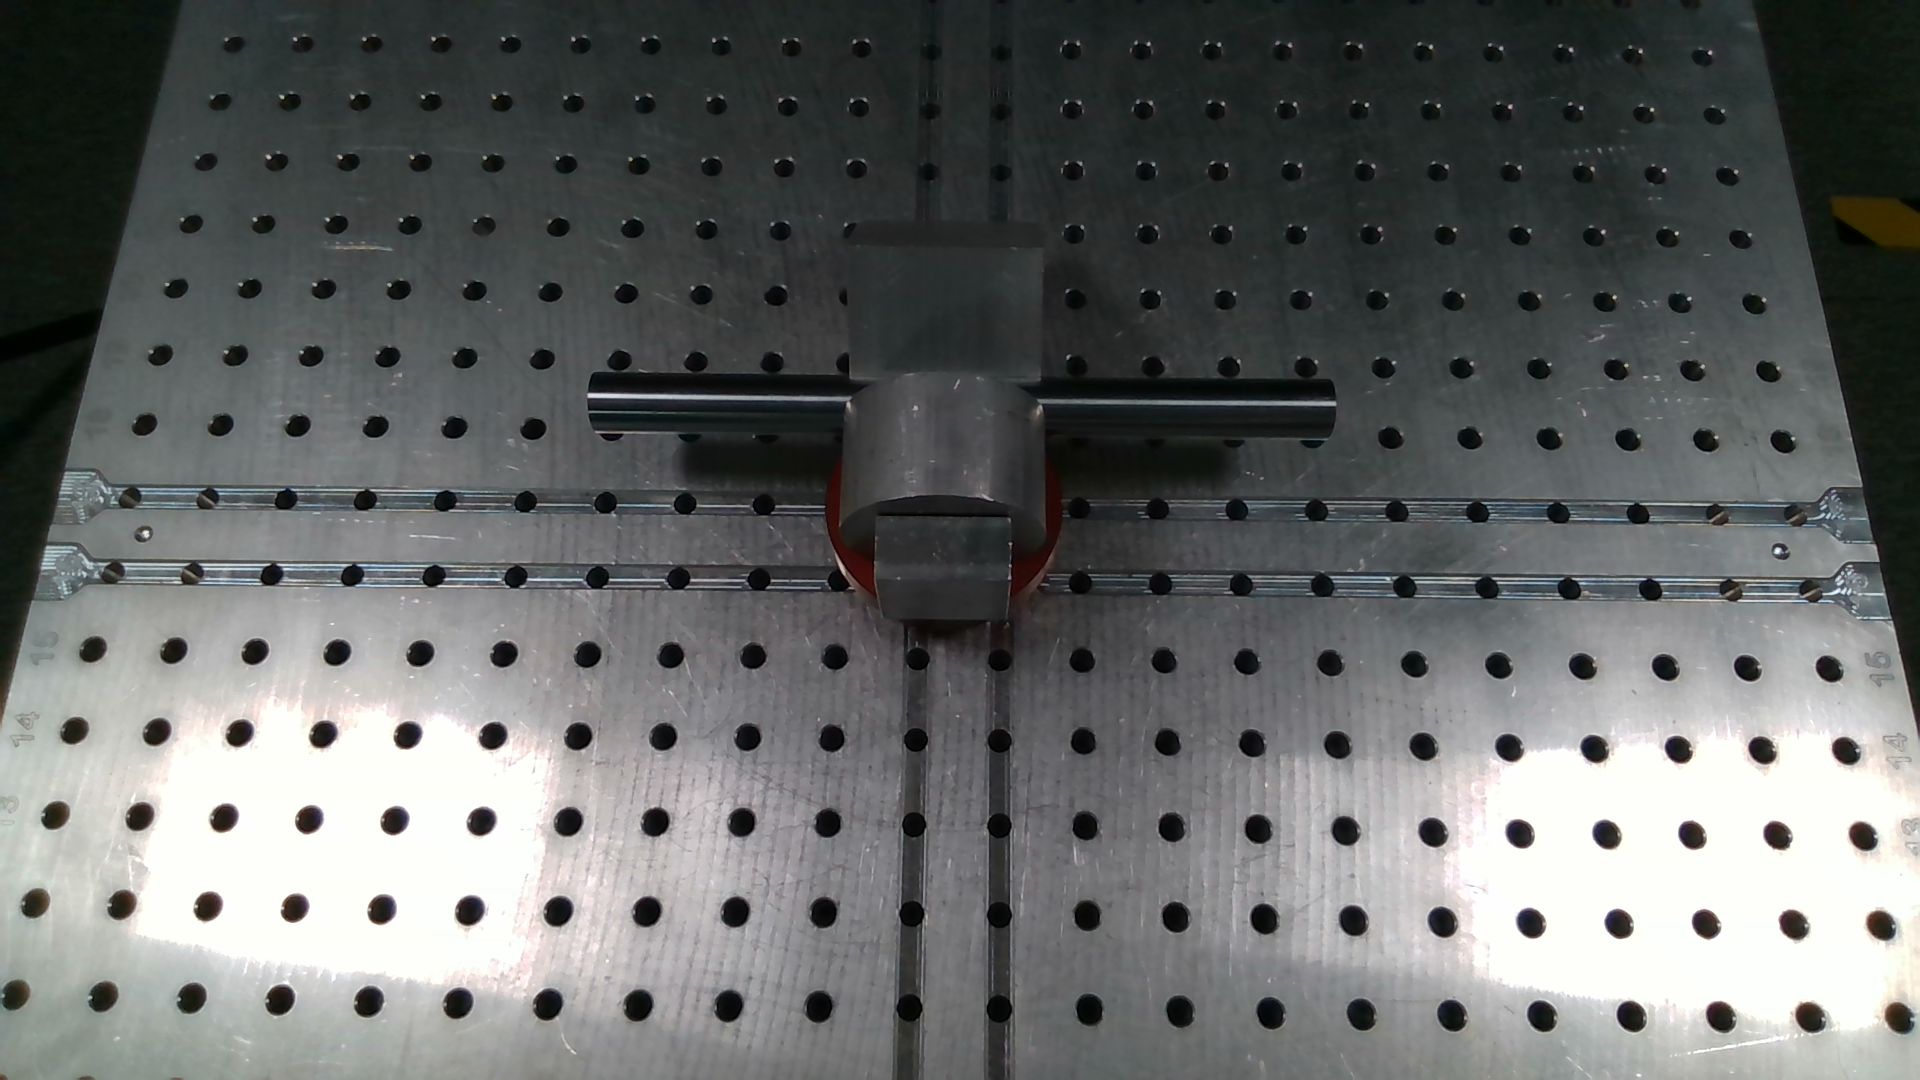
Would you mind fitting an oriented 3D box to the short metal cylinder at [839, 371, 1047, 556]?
[{"bbox_3d":[-0.006,-0.025,0.538,0.080,0.080,0.050,1,70,0],"label":"short metal cylinder"}]

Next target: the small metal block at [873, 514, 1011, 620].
[{"bbox_3d":[-0.006,0.011,0.528,0.050,0.050,0.025,1,70,1],"label":"small metal block"}]

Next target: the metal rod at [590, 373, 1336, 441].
[{"bbox_3d":[0.001,-0.055,0.566,0.300,0.025,0.025,1,70,0],"label":"metal rod"}]

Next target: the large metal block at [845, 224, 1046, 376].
[{"bbox_3d":[-0.006,-0.104,0.593,0.080,0.080,0.050,1,111,0],"label":"large metal block"}]

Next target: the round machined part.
[{"bbox_3d":[-0.007,-0.009,0.583,0.098,0.042,0.098,0,70,0],"label":"round machined part"}]
